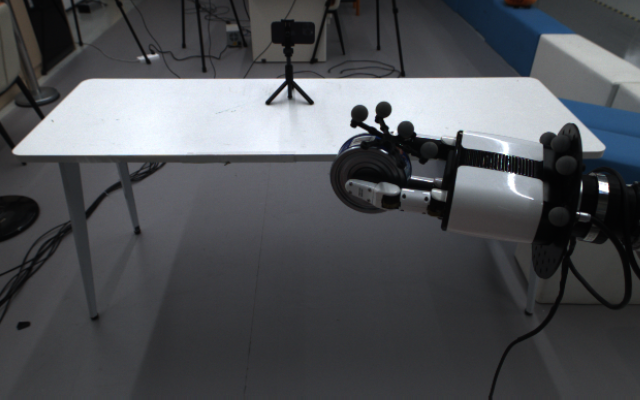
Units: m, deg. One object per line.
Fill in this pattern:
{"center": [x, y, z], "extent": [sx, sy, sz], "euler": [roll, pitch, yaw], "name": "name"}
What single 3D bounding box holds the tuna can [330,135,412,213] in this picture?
{"center": [0.059, -0.022, 0.526], "extent": [0.085, 0.085, 0.034], "euler": [12, 35, 14], "name": "tuna can"}
